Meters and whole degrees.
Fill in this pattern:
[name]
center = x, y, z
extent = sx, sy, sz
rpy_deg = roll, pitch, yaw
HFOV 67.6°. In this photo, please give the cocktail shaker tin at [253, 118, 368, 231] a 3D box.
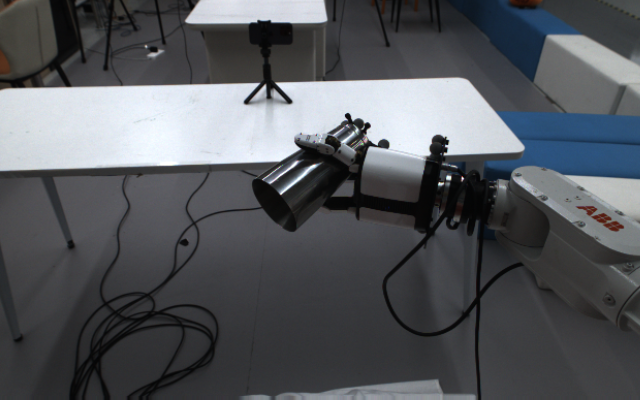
[cocktail shaker tin]
center = -0.005, -0.046, 0.706
extent = 0.170, 0.093, 0.093
rpy_deg = -38, 50, -24
